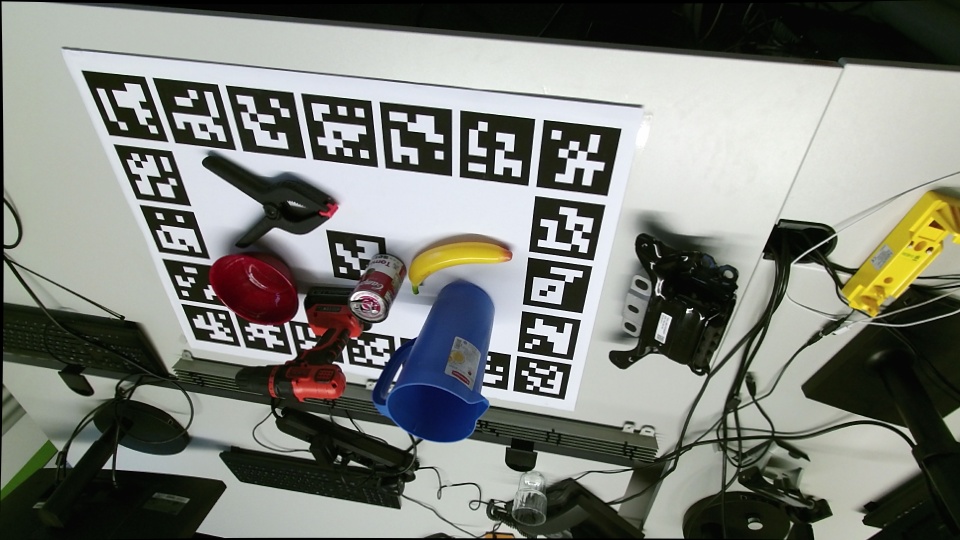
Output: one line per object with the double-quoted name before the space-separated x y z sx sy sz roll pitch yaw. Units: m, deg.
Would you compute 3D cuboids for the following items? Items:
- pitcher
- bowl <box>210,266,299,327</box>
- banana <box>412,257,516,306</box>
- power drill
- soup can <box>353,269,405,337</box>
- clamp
"pitcher" -0.062 0.162 0.855 0.189 0.241 0.133 -14 124 20
"bowl" -0.391 0.048 0.955 0.162 0.055 0.161 5 125 7
"banana" -0.039 0.012 0.871 0.198 0.038 0.074 -14 130 22
"power drill" -0.298 0.156 0.909 0.185 0.186 0.057 3 125 10
"soup can" -0.168 0.056 0.888 0.068 0.101 0.068 6 135 7
"clamp" -0.326 -0.074 0.857 0.203 0.036 0.165 5 122 8
